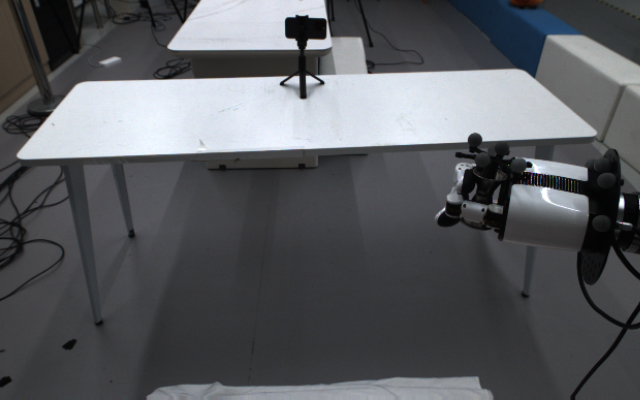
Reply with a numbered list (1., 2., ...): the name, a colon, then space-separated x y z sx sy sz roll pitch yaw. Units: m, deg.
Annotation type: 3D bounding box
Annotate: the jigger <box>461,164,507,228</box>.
1. jigger: 0.203 -0.002 0.603 0.043 0.071 0.043 6 26 -3
